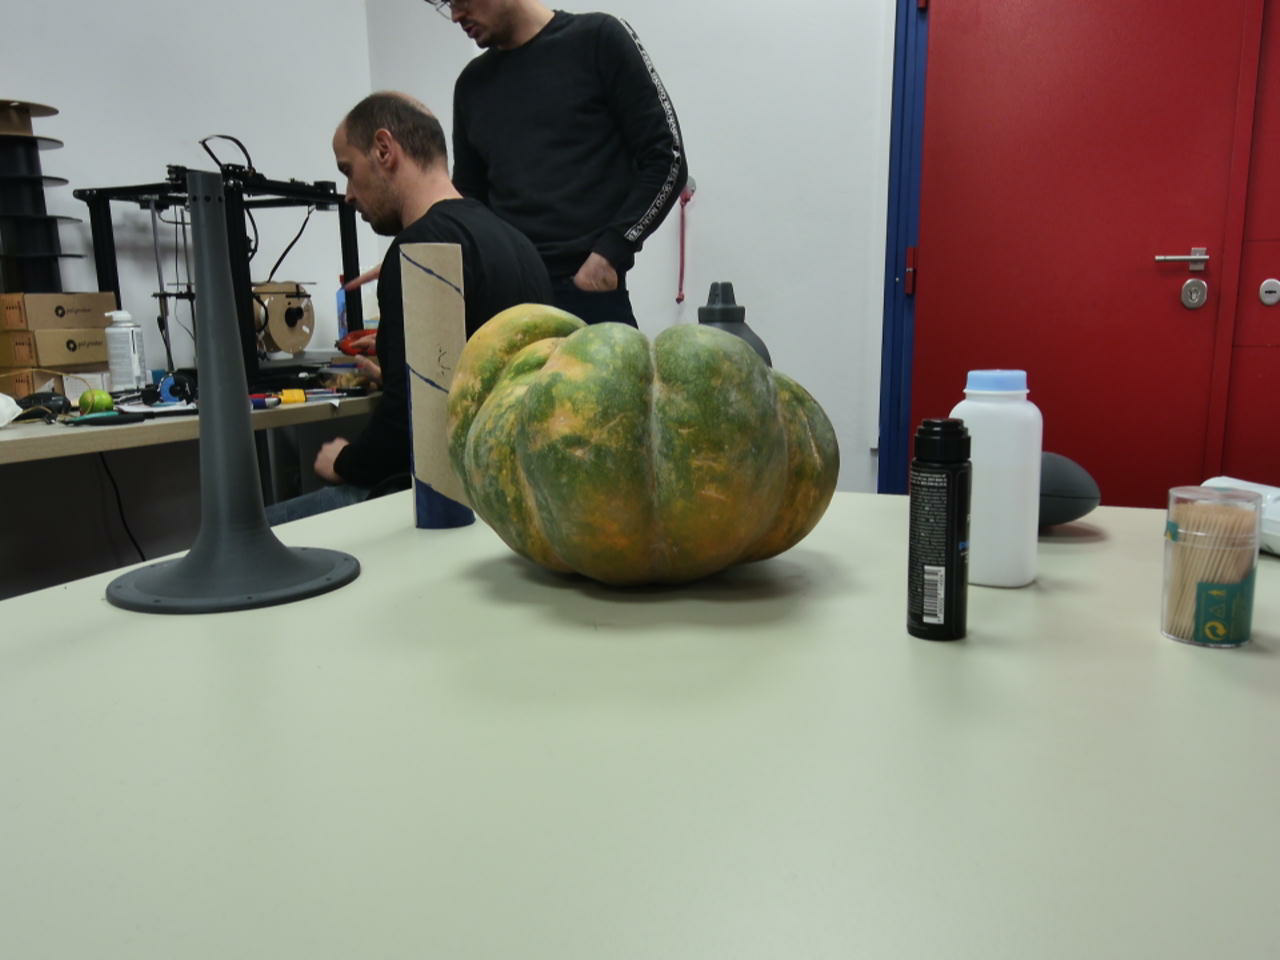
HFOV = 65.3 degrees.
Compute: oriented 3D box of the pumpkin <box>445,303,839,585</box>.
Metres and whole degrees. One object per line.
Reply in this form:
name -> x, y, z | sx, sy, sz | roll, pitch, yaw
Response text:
pumpkin -> 0.000, -0.026, 0.652 | 0.237, 0.173, 0.270 | -4, 8, -29
